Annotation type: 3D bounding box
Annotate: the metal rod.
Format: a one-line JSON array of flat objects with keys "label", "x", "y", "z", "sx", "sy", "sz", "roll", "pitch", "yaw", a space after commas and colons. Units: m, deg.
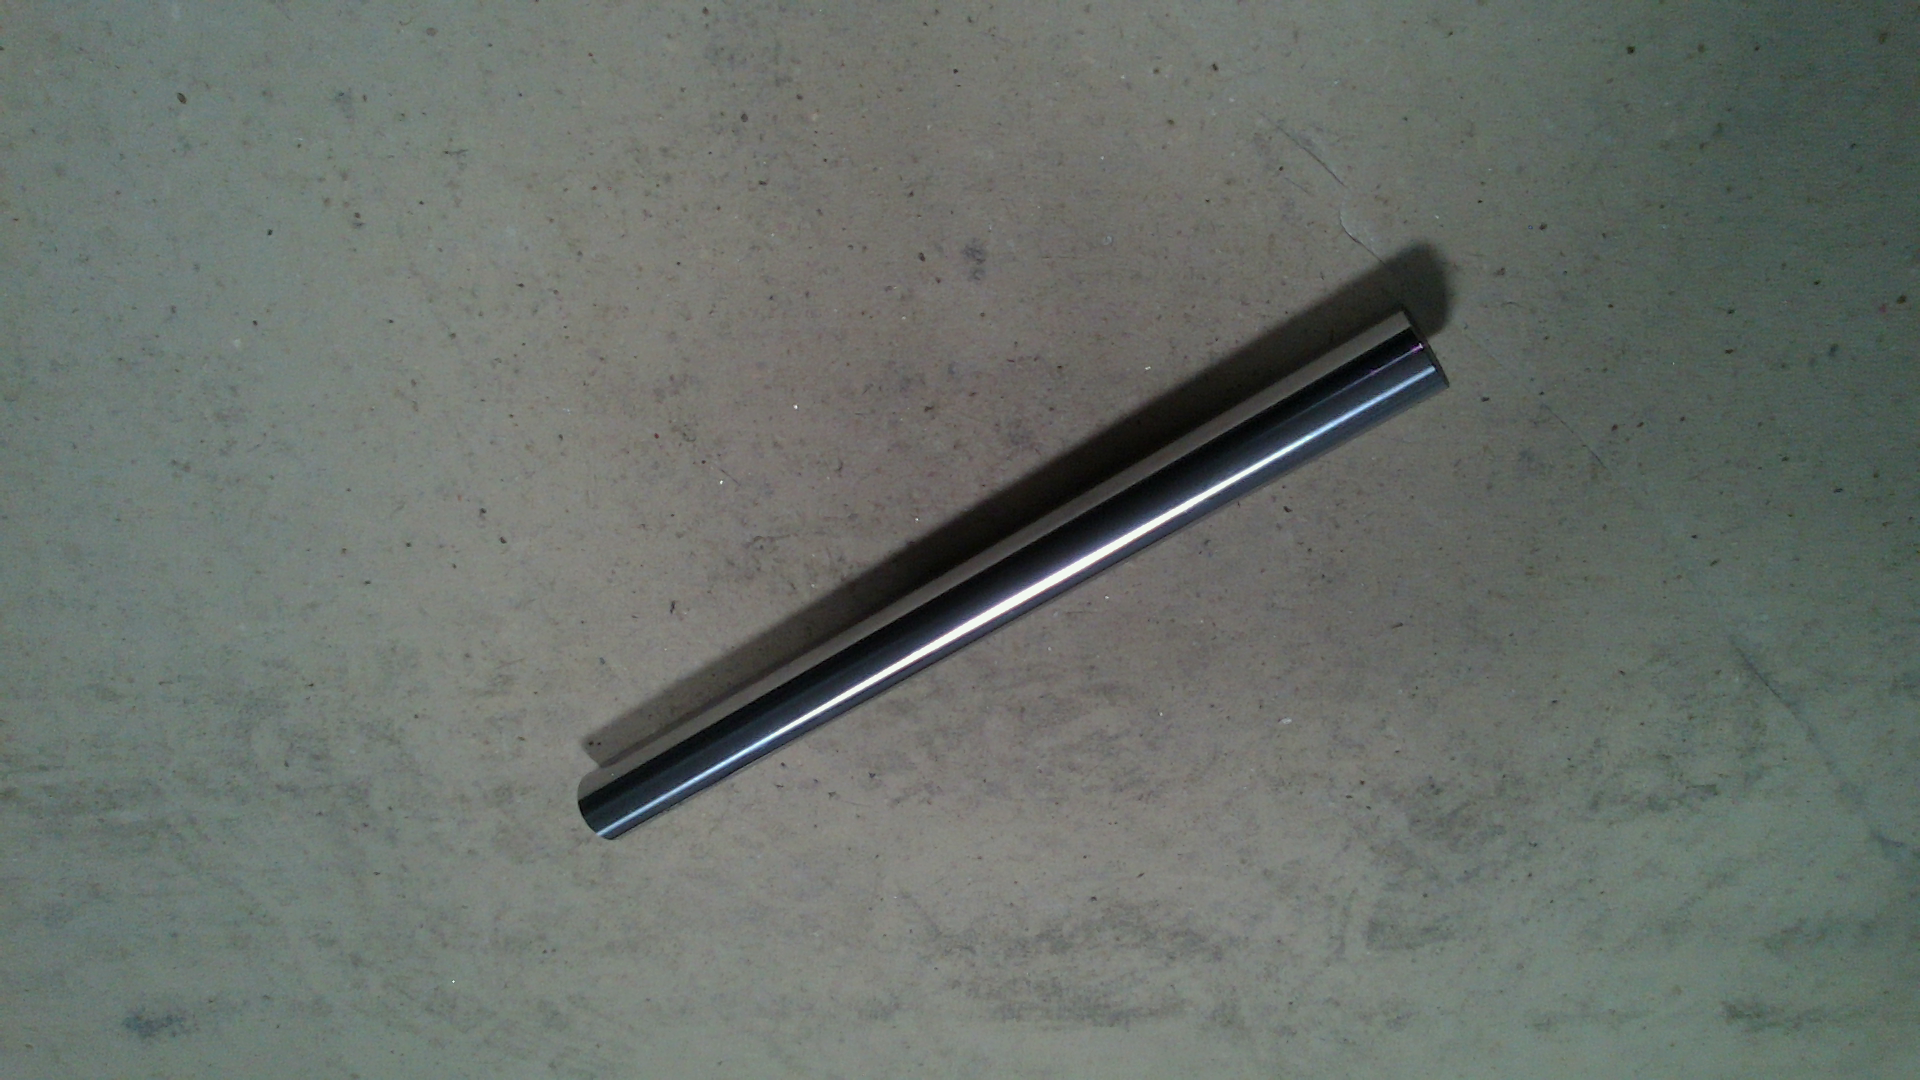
[{"label": "metal rod", "x": -0.001, "y": 0.020, "z": 0.408, "sx": 0.299, "sy": 0.025, "sz": 0.025, "roll": -30, "pitch": 124, "yaw": 23}]
